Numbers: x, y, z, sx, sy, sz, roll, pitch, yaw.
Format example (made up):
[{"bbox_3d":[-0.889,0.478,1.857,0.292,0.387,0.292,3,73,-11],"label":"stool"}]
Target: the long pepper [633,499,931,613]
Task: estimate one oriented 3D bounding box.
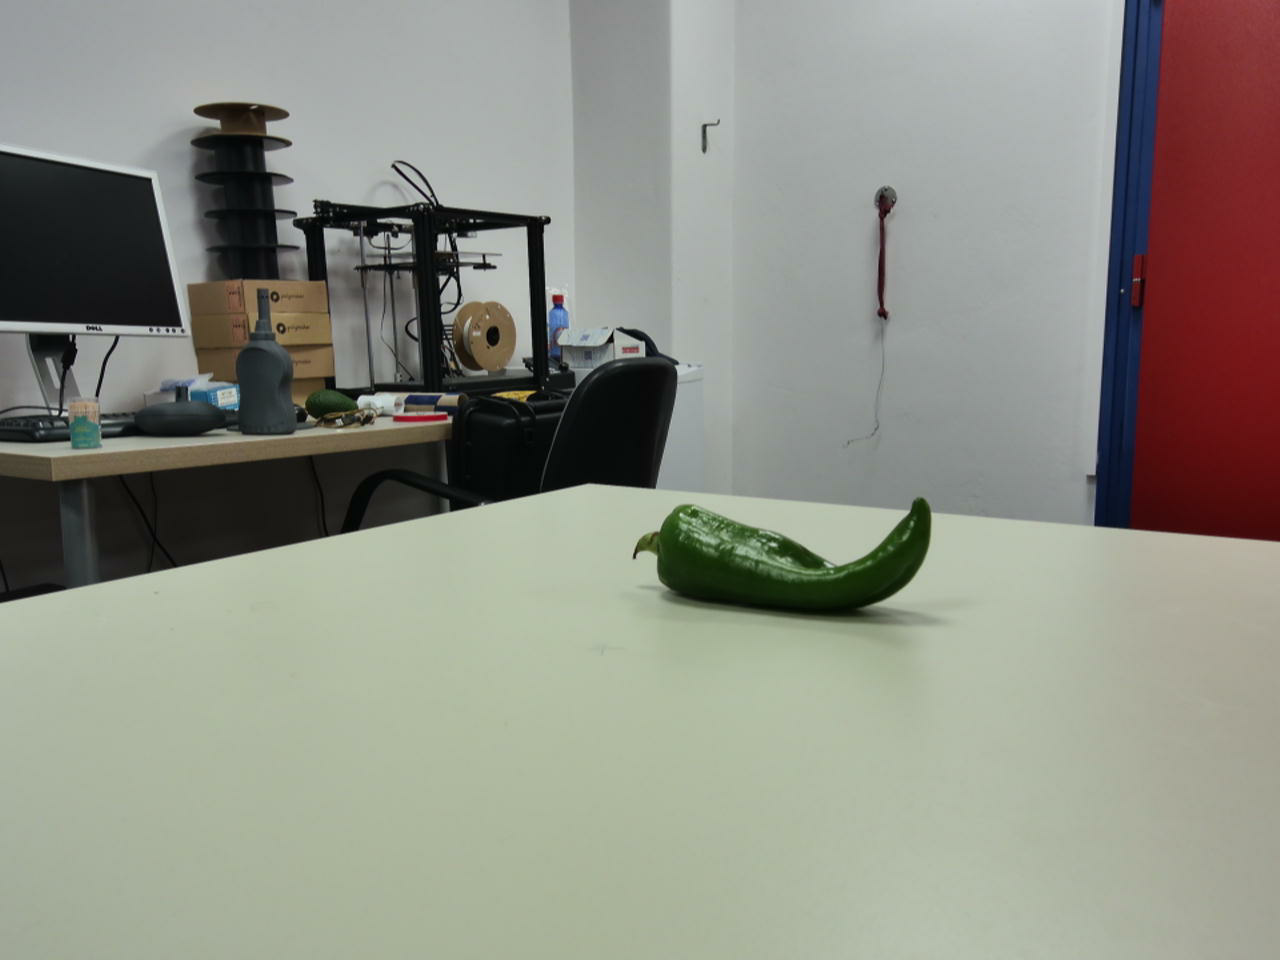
[{"bbox_3d":[0.071,0.037,0.556,0.175,0.065,0.058,5,7,34],"label":"long pepper"}]
